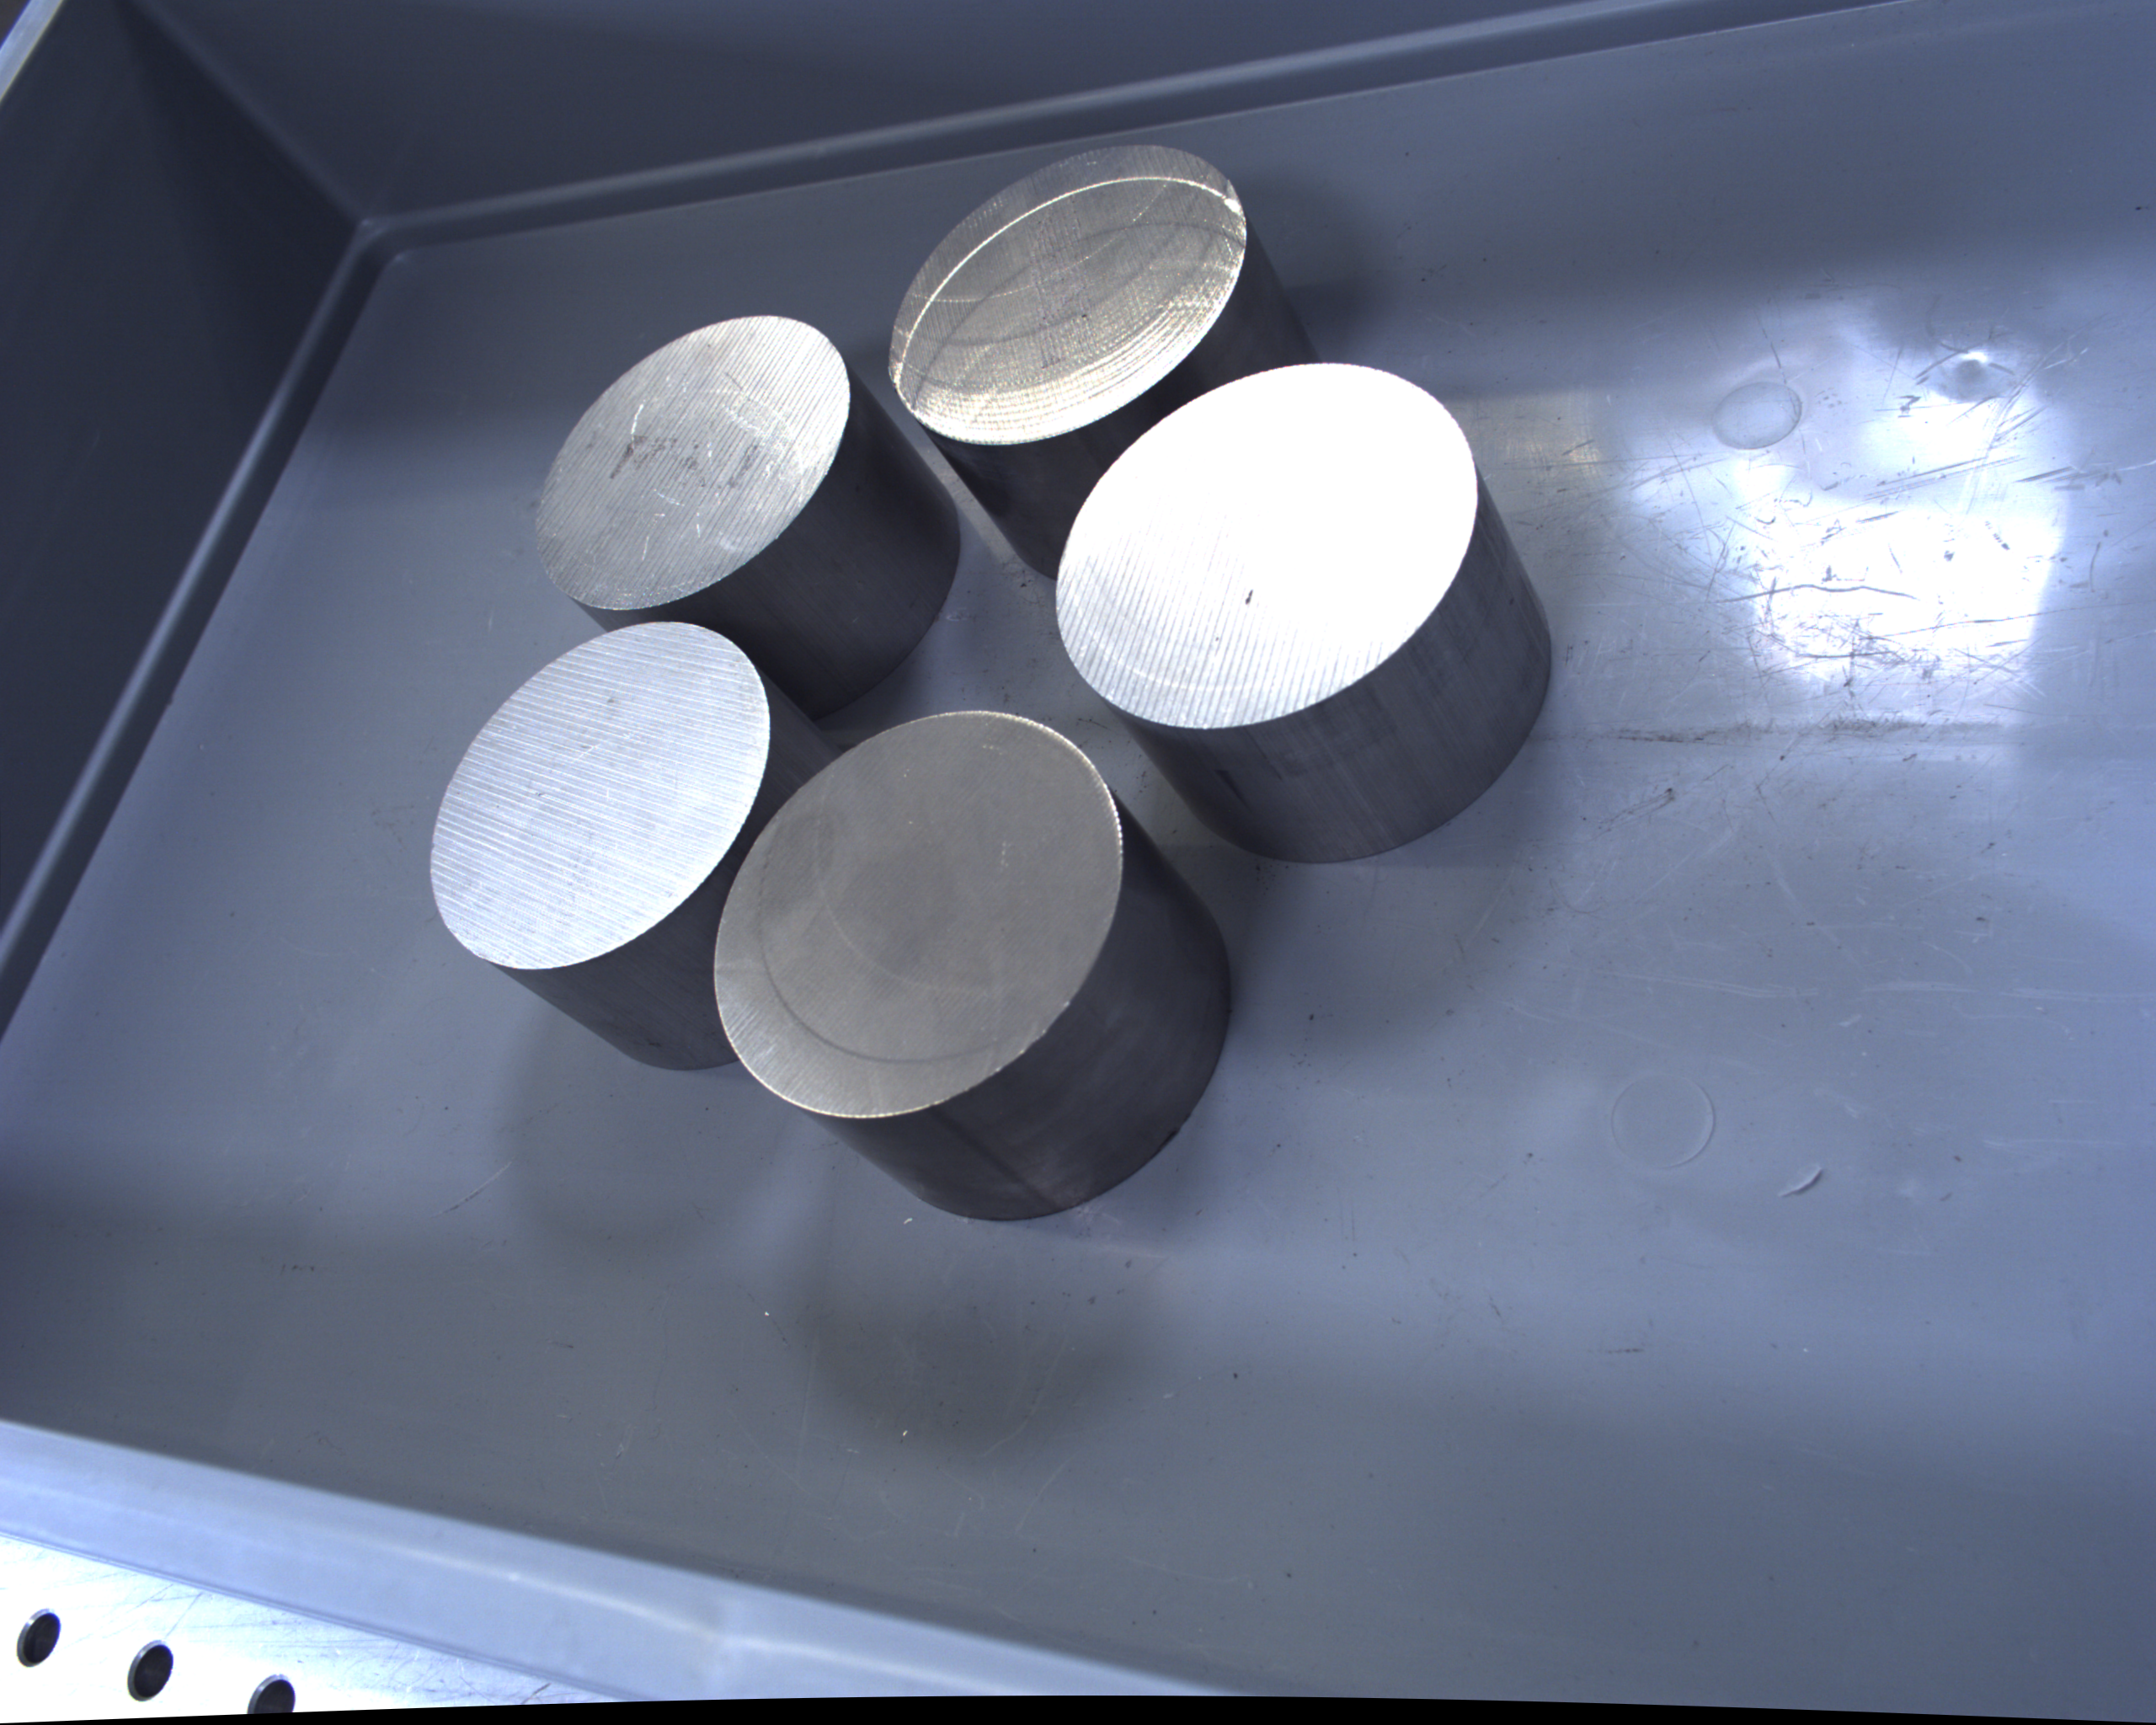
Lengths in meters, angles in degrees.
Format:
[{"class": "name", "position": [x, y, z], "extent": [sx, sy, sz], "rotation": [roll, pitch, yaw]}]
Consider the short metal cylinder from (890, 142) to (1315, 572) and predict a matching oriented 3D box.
[{"class": "short metal cylinder", "position": [0.007, -0.107, 0.449], "extent": [0.080, 0.050, 0.080], "rotation": [-13, 56, 21]}]

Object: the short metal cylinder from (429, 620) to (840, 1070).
[{"class": "short metal cylinder", "position": [-0.086, -0.003, 0.434], "extent": [0.080, 0.050, 0.080], "rotation": [-13, 56, 21]}]

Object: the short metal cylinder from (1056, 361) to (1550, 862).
[{"class": "short metal cylinder", "position": [0.043, -0.047, 0.393], "extent": [0.080, 0.050, 0.080], "rotation": [-13, 56, 21]}]

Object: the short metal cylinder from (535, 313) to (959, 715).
[{"class": "short metal cylinder", "position": [-0.074, -0.077, 0.474], "extent": [0.080, 0.050, 0.080], "rotation": [-13, 56, 21]}]

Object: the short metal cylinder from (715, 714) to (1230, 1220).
[{"class": "short metal cylinder", "position": [-0.019, 0.020, 0.385], "extent": [0.080, 0.050, 0.080], "rotation": [-13, 56, 21]}]
